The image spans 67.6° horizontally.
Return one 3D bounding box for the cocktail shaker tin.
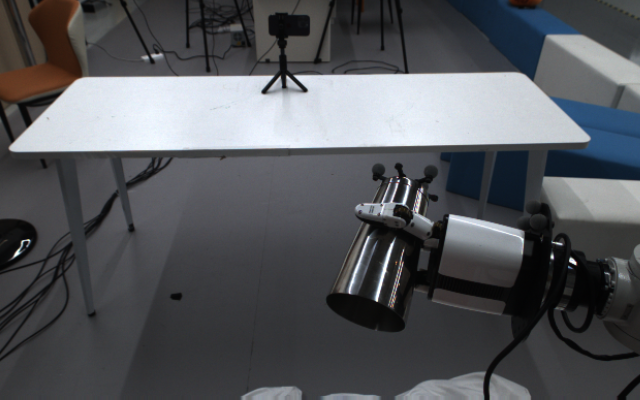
[{"bbox_3d":[0.078,0.057,0.573,0.093,0.093,0.170,14,58,16],"label":"cocktail shaker tin"}]
